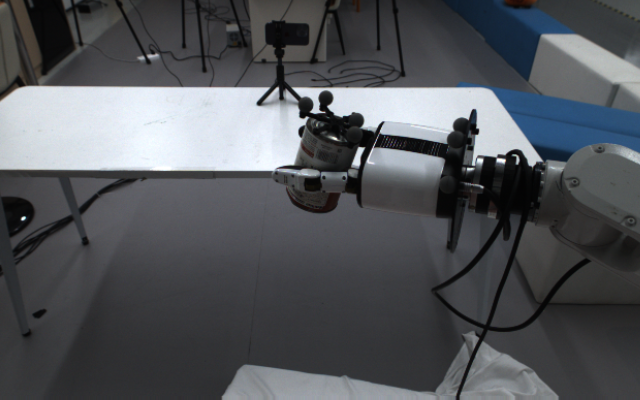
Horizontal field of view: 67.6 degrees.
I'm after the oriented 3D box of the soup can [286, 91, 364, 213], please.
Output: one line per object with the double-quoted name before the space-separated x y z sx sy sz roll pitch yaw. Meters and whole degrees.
"soup can" 0.005 -0.044 0.583 0.067 0.101 0.067 13 35 -9
